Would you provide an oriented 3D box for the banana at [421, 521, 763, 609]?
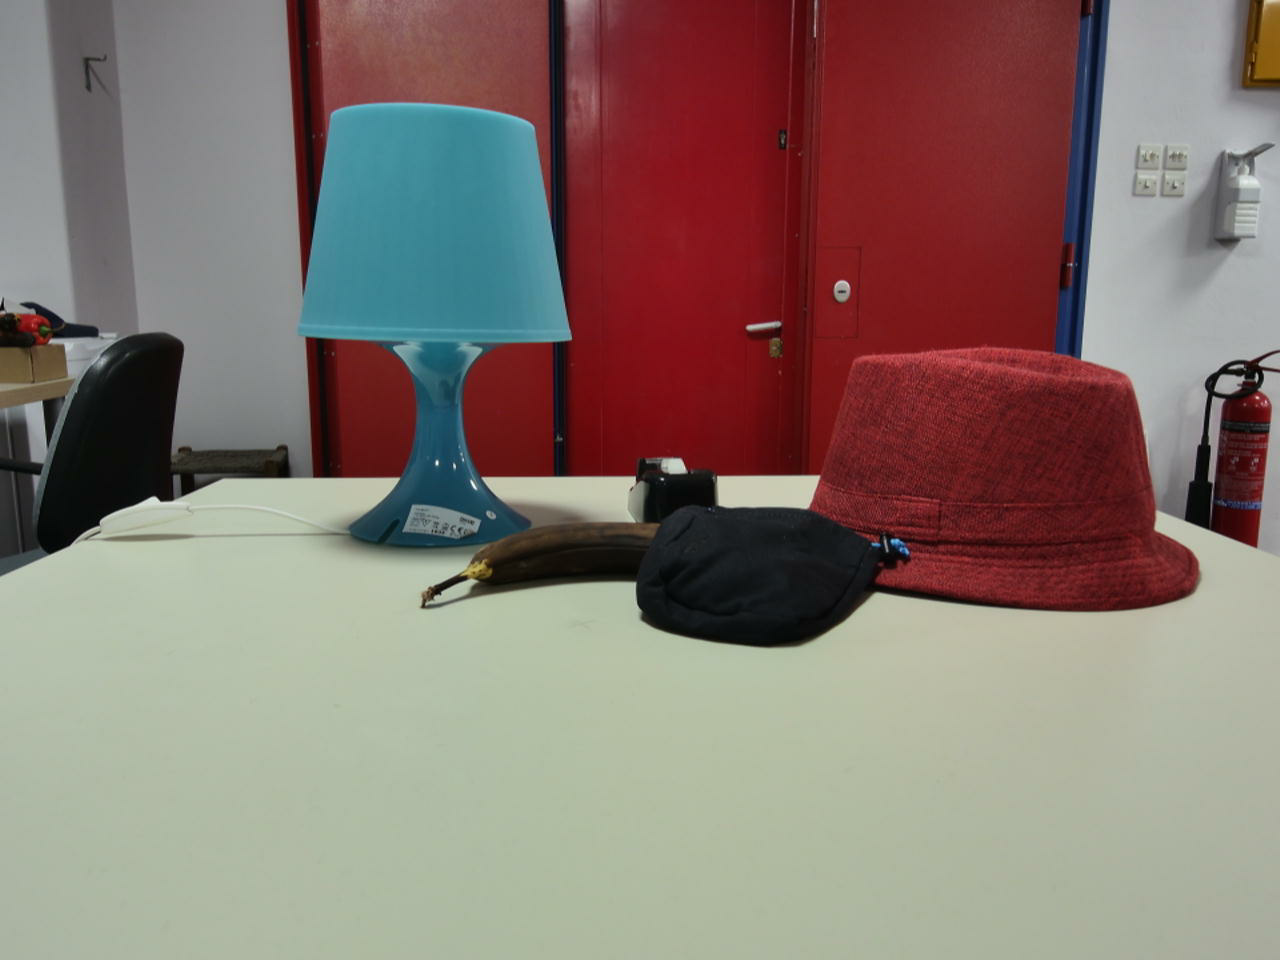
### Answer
[{"bbox_3d":[-0.024,0.045,0.585,0.188,0.033,0.091,0,8,1],"label":"banana"}]
